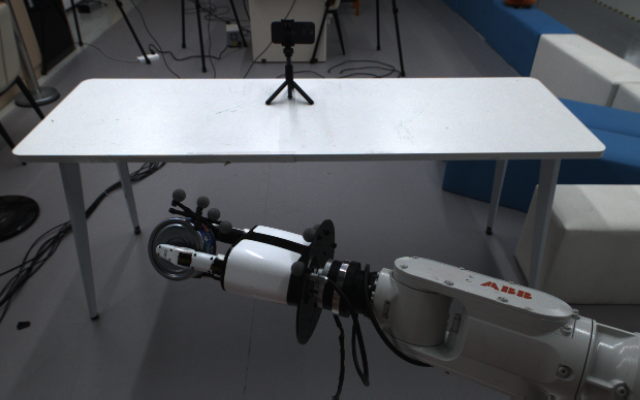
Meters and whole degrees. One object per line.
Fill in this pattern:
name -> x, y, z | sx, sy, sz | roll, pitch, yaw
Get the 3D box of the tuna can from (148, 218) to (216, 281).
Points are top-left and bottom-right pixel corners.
tuna can -> -0.184, 0.065, 0.649 | 0.085, 0.085, 0.034 | 12, 4, 14
